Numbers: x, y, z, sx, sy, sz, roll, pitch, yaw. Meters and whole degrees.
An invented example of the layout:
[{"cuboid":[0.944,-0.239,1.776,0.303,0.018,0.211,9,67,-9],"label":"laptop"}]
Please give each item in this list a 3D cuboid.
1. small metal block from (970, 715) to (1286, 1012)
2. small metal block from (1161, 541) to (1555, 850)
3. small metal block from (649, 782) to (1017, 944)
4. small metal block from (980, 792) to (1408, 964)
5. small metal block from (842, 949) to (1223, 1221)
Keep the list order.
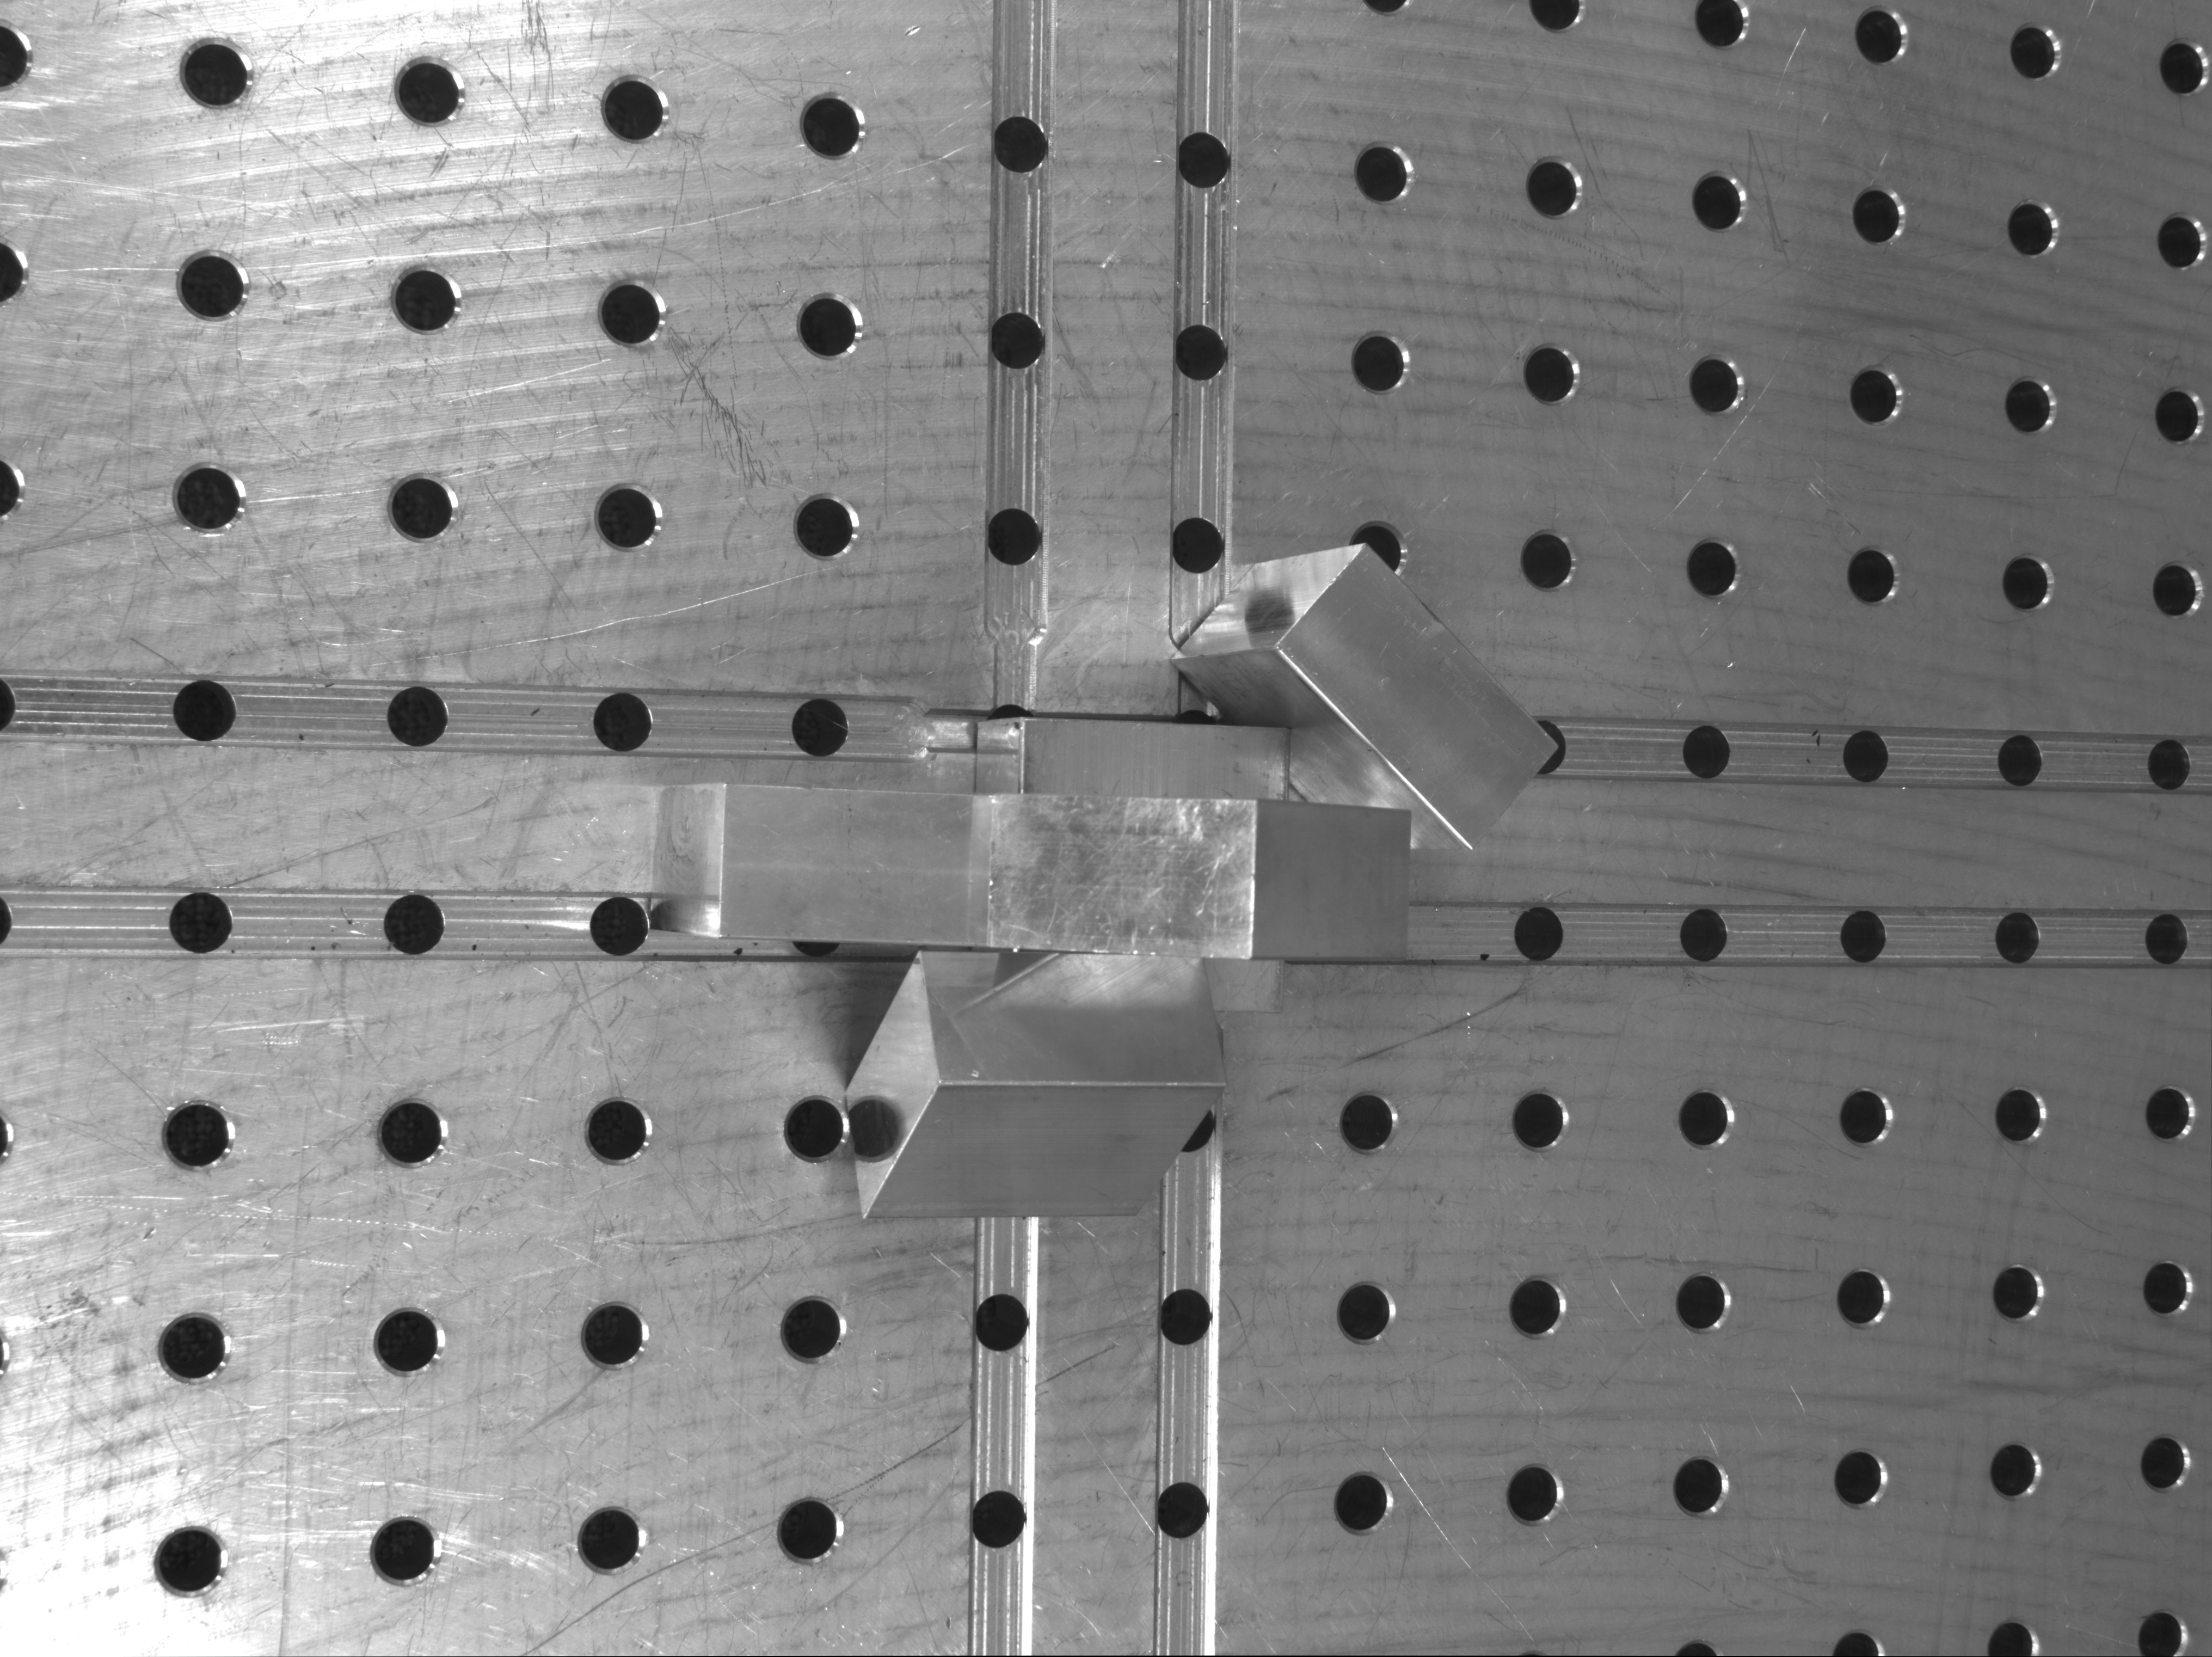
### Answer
[{"cuboid":[0.003,0.006,0.647,0.050,0.025,0.050,2,89,-21],"label":"small metal block"},{"cuboid":[0.044,-0.022,0.649,0.050,0.050,0.025,45,76,-14],"label":"small metal block"},{"cuboid":[-0.047,0.006,0.615,0.050,0.050,0.025,2,90,-19],"label":"small metal block"},{"cuboid":[0.015,0.008,0.601,0.050,0.050,0.025,4,89,-57],"label":"small metal block"},{"cuboid":[-0.014,0.044,0.625,0.050,0.050,0.025,1,58,-20],"label":"small metal block"}]
